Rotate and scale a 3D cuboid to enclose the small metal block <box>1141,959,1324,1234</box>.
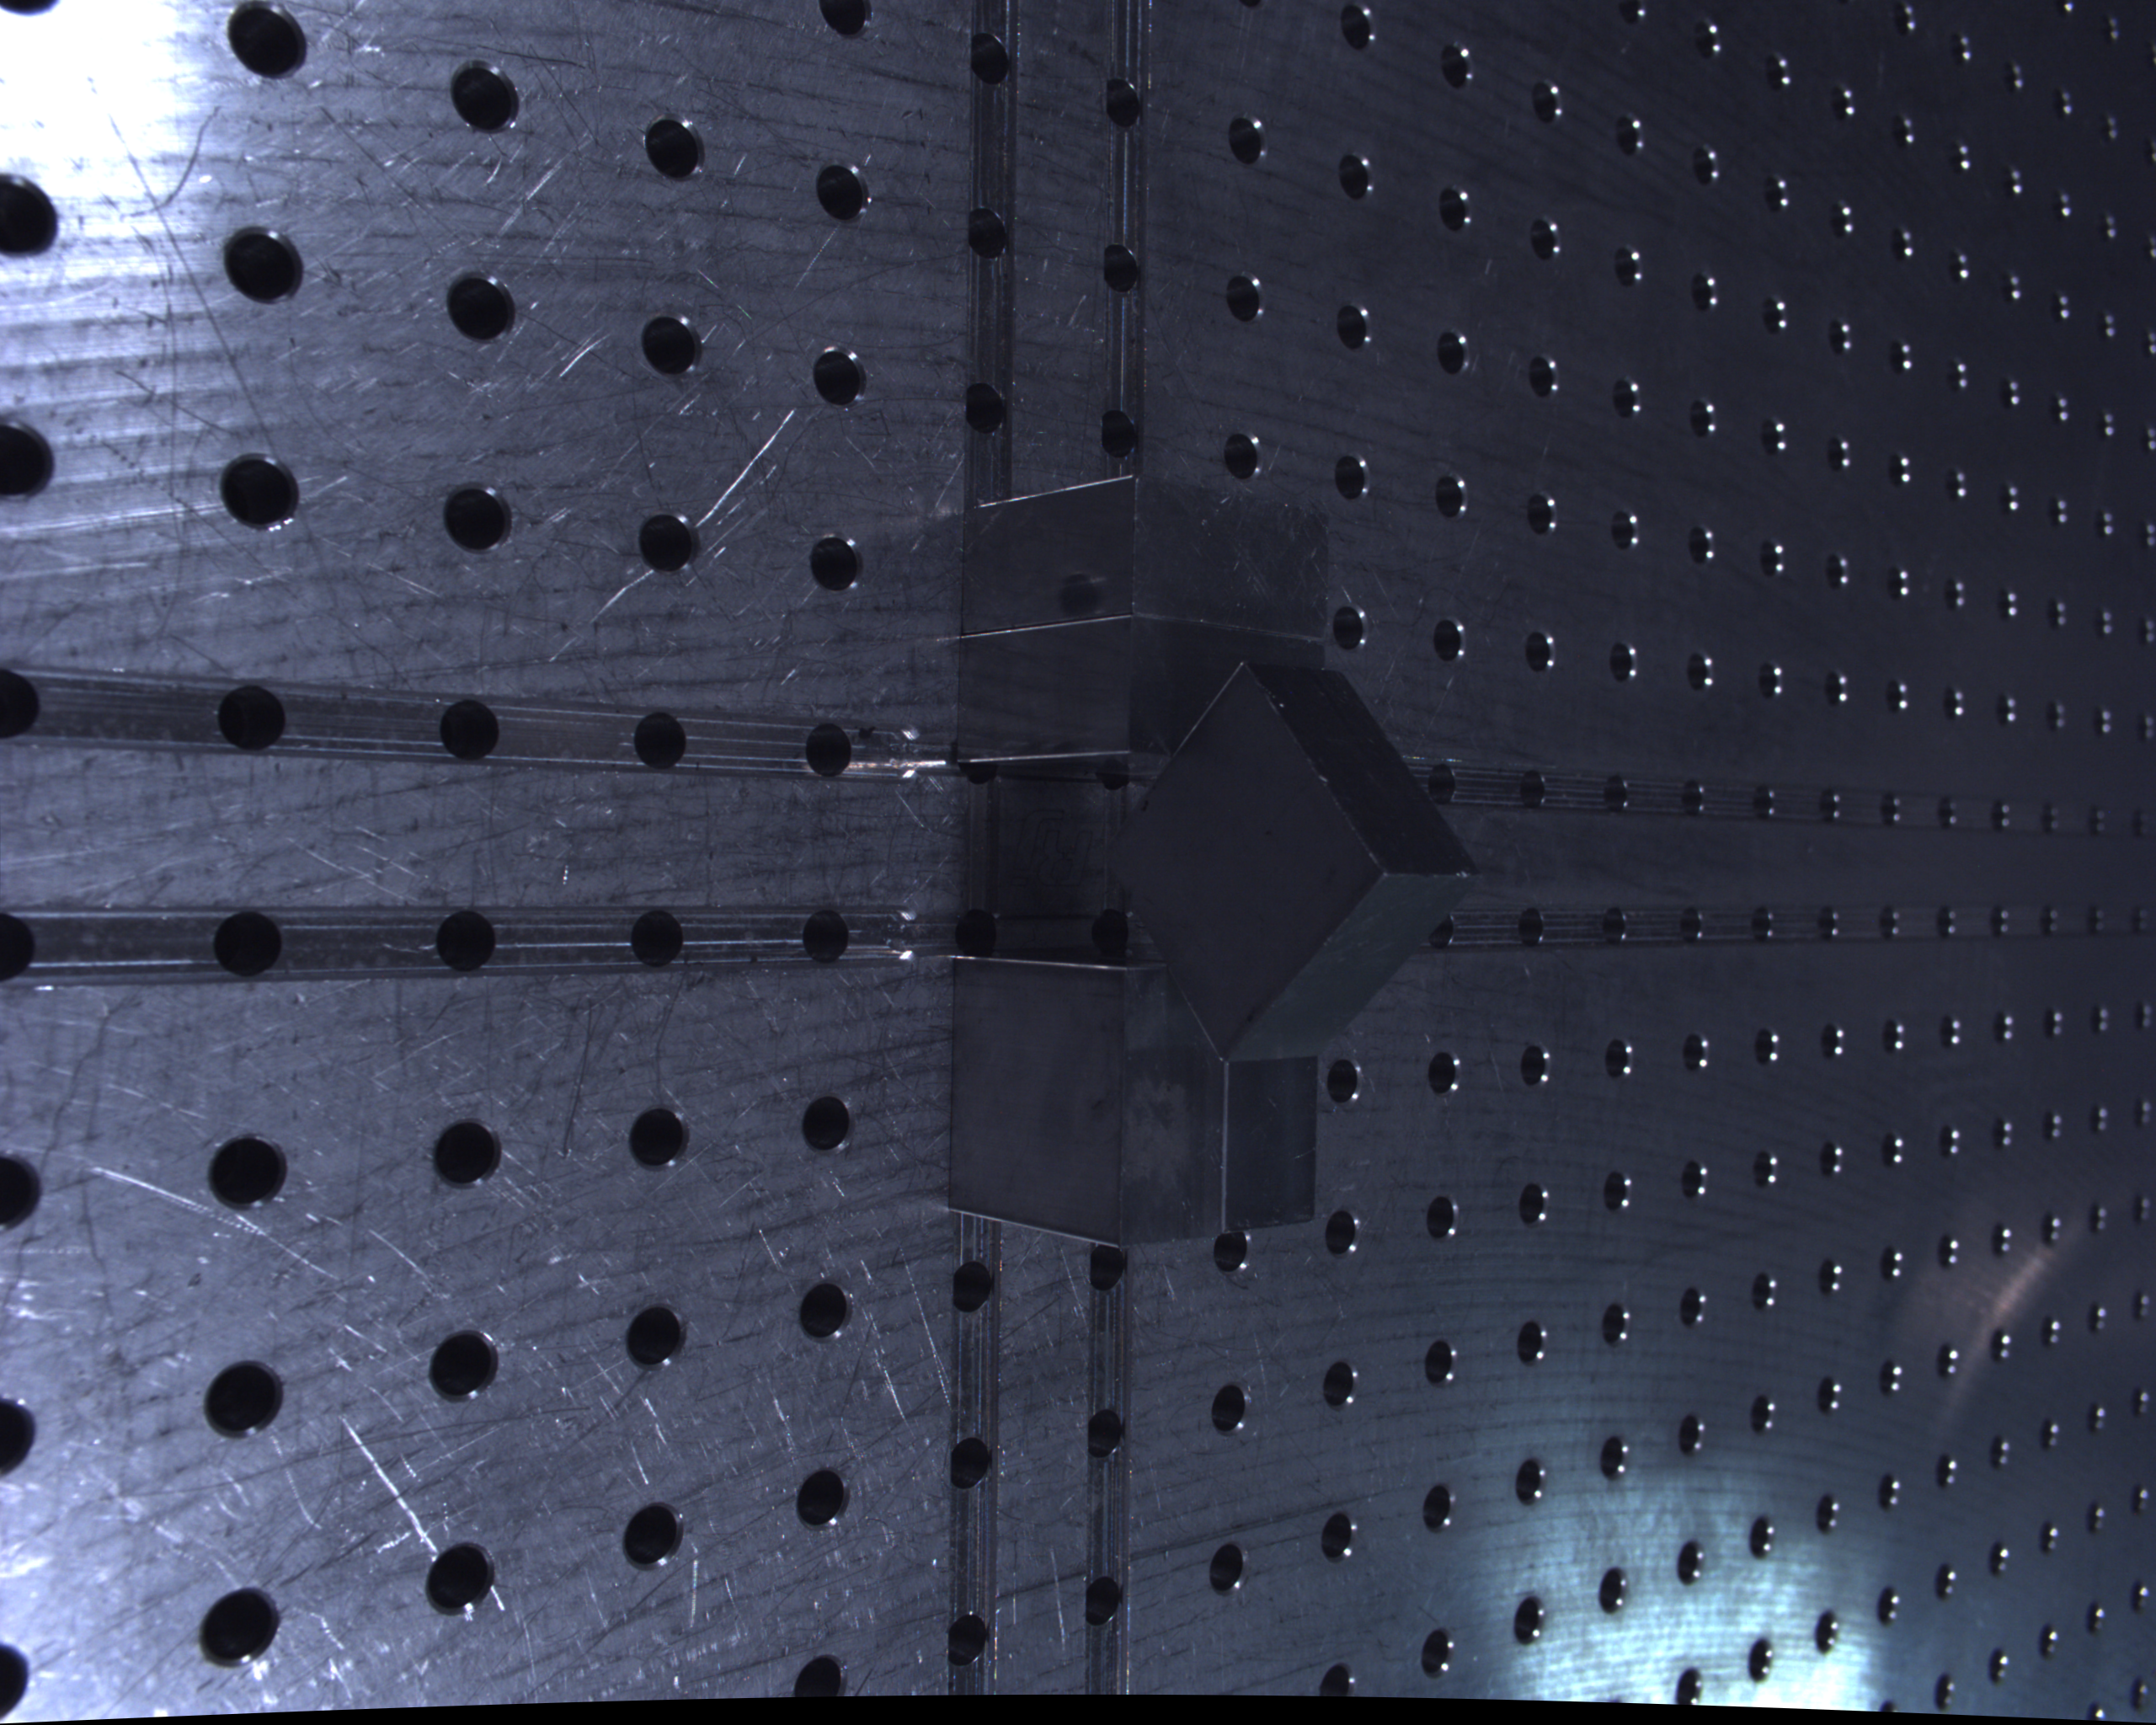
[{"bbox_3d":[0.021,0.044,0.411,0.025,0.050,0.050,2,89,-40],"label":"small metal block"}]

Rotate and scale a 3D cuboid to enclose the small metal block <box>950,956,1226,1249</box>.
[{"bbox_3d":[0.001,0.044,0.396,0.025,0.050,0.050,2,89,-40],"label":"small metal block"}]

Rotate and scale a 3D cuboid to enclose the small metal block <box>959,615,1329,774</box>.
[{"bbox_3d":[0.013,-0.031,0.405,0.050,0.050,0.025,3,89,-40],"label":"small metal block"}]

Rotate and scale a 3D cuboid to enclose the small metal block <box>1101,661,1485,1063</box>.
[{"bbox_3d":[0.037,0.000,0.372,0.025,0.050,0.050,1,47,-40],"label":"small metal block"}]

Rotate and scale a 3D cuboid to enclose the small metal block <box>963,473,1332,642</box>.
[{"bbox_3d":[0.013,-0.056,0.405,0.050,0.050,0.025,3,89,-40],"label":"small metal block"}]
